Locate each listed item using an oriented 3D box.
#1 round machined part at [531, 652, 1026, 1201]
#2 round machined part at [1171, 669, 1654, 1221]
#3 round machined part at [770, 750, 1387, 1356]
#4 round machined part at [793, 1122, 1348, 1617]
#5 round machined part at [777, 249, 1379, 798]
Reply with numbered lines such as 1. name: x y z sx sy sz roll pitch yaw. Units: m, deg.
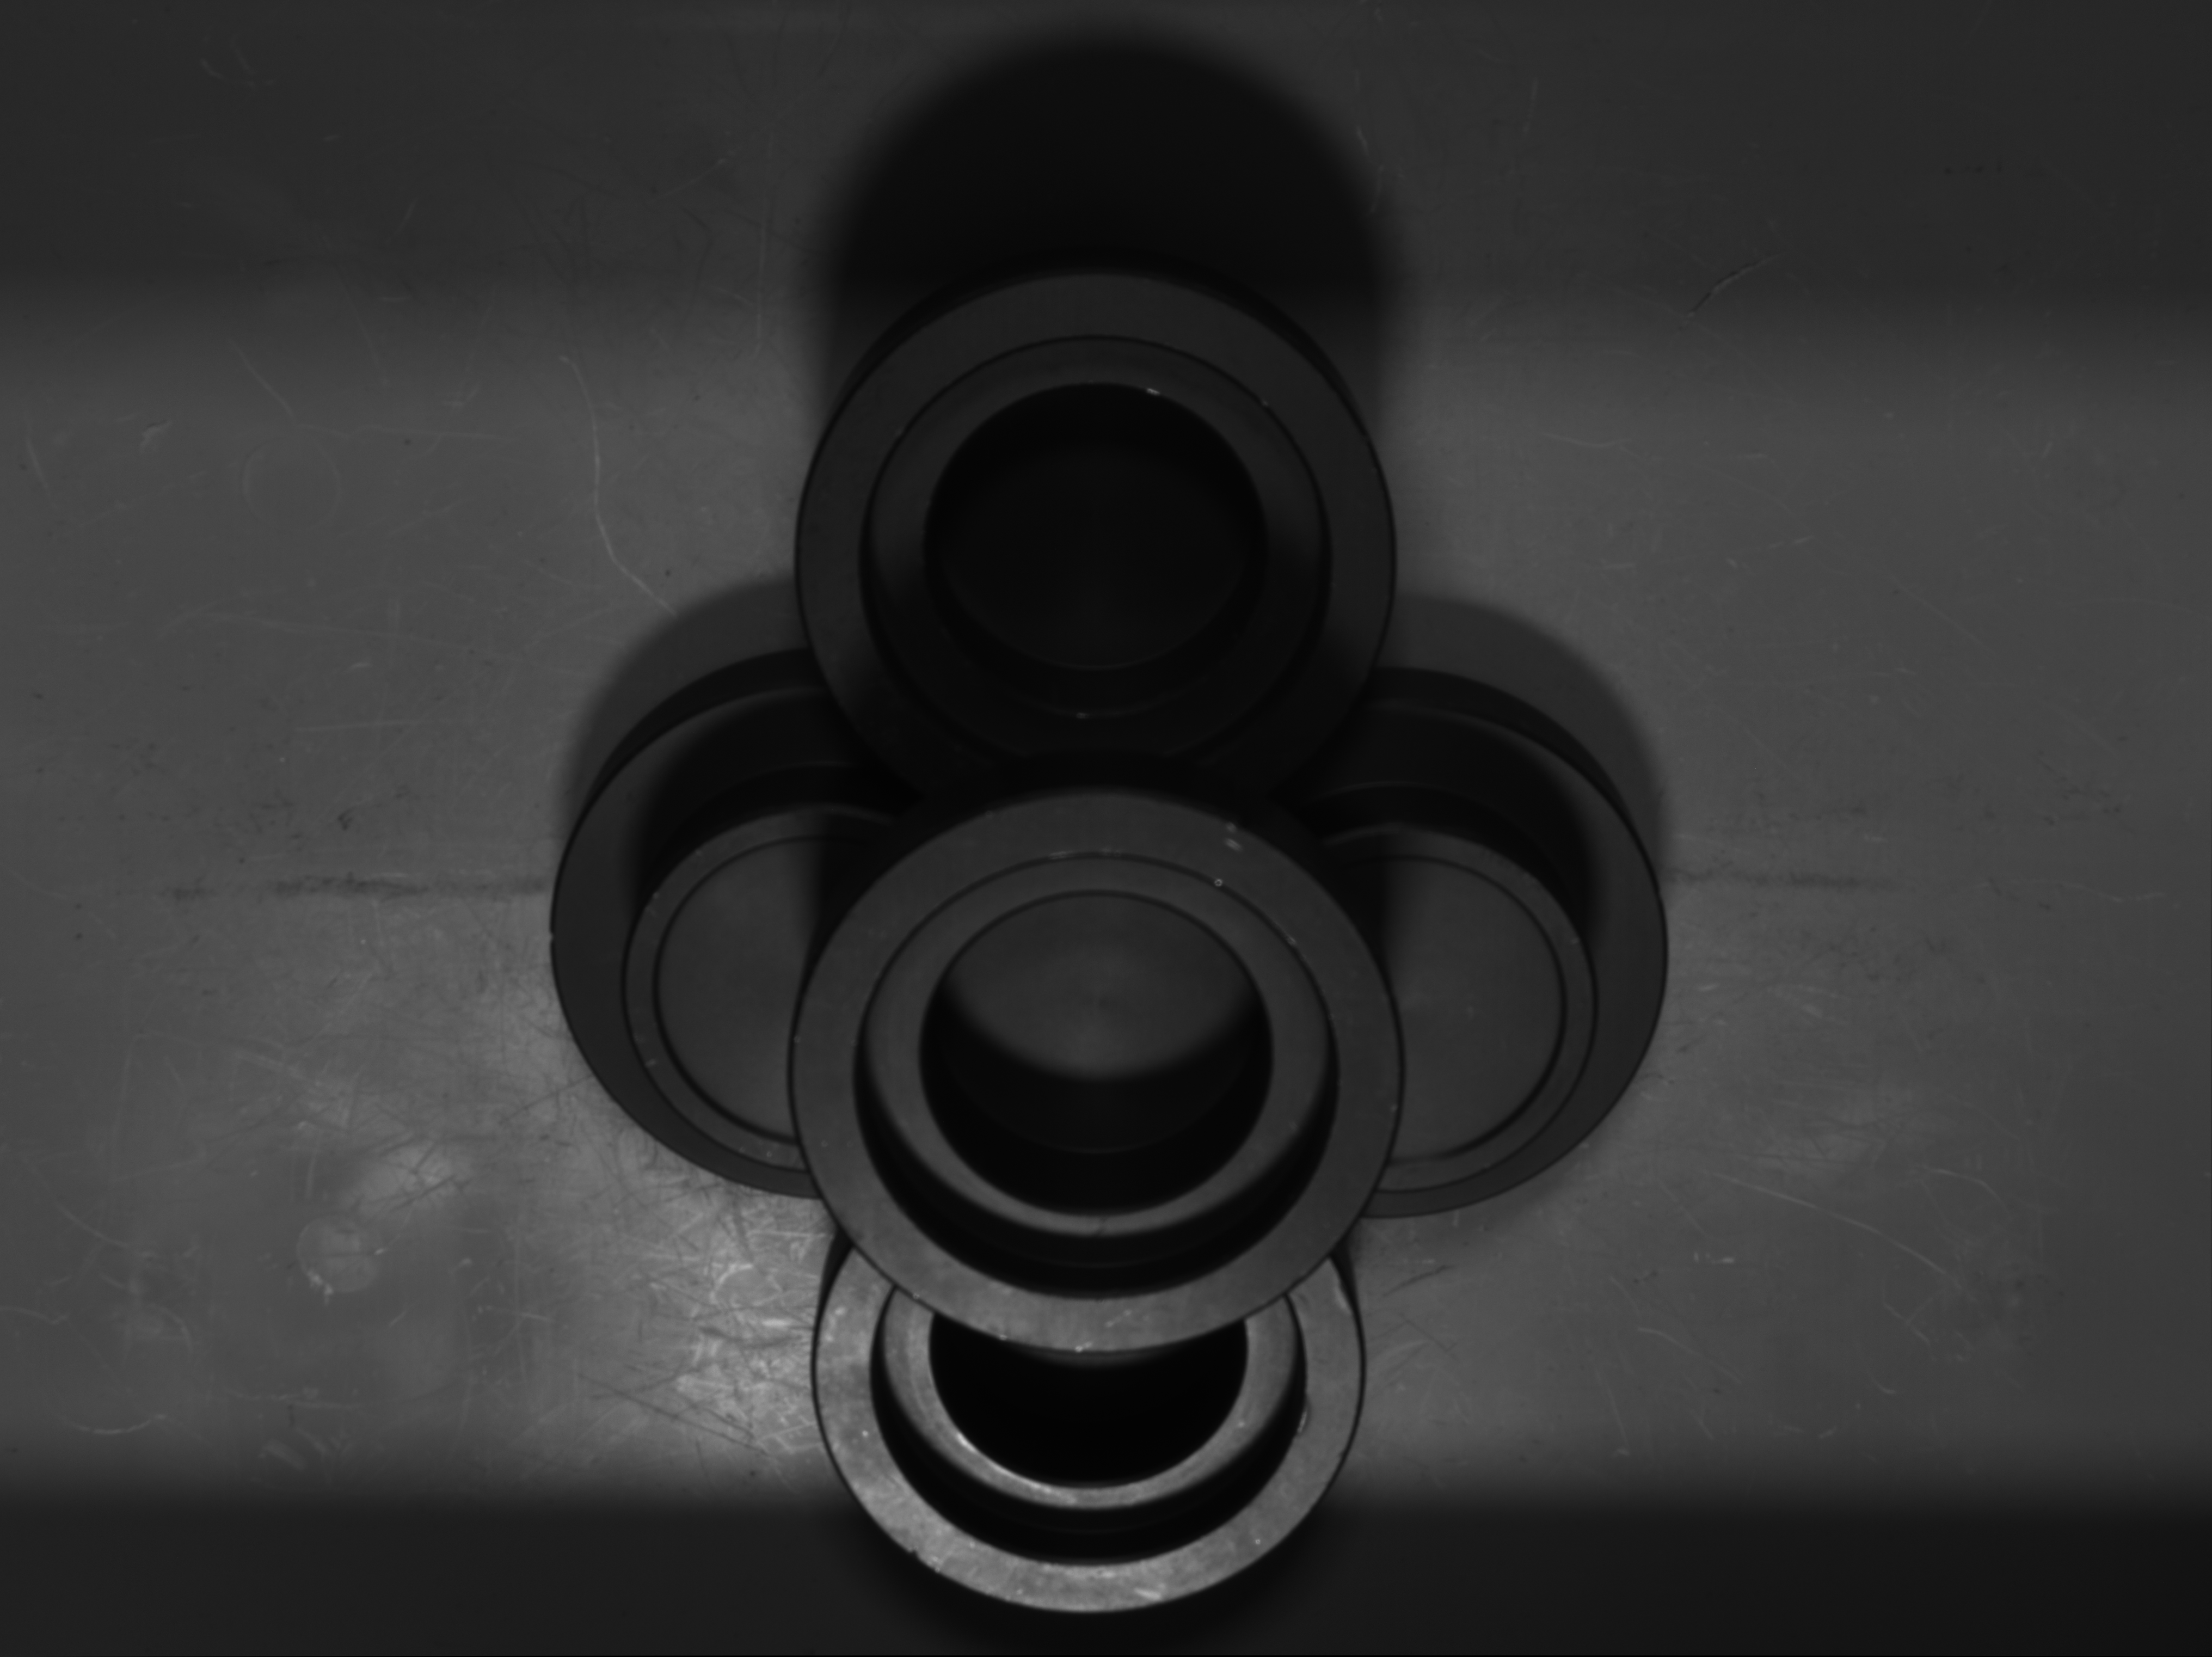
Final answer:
1. round machined part: -0.051 0.021 0.640 0.098 0.042 0.098 0 110 -1
2. round machined part: 0.047 0.025 0.642 0.098 0.042 0.098 0 110 -1
3. round machined part: -0.004 0.033 0.600 0.098 0.042 0.098 0 110 -1
4. round machined part: -0.006 0.090 0.665 0.098 0.042 0.098 0 110 -1
5. round machined part: -0.005 -0.049 0.614 0.098 0.042 0.098 0 110 -1
